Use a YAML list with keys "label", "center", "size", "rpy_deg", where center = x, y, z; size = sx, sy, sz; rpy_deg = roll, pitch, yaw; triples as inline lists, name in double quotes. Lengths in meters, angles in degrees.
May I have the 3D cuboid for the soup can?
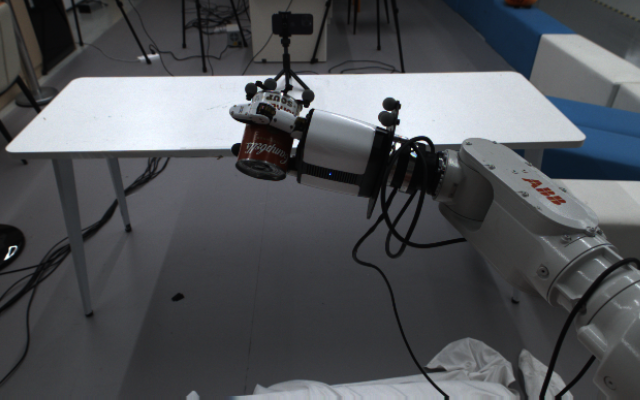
- label: "soup can"
  center: [-0.067, -0.084, 0.637]
  size: [0.067, 0.067, 0.101]
  rpy_deg: [8, 72, 9]
